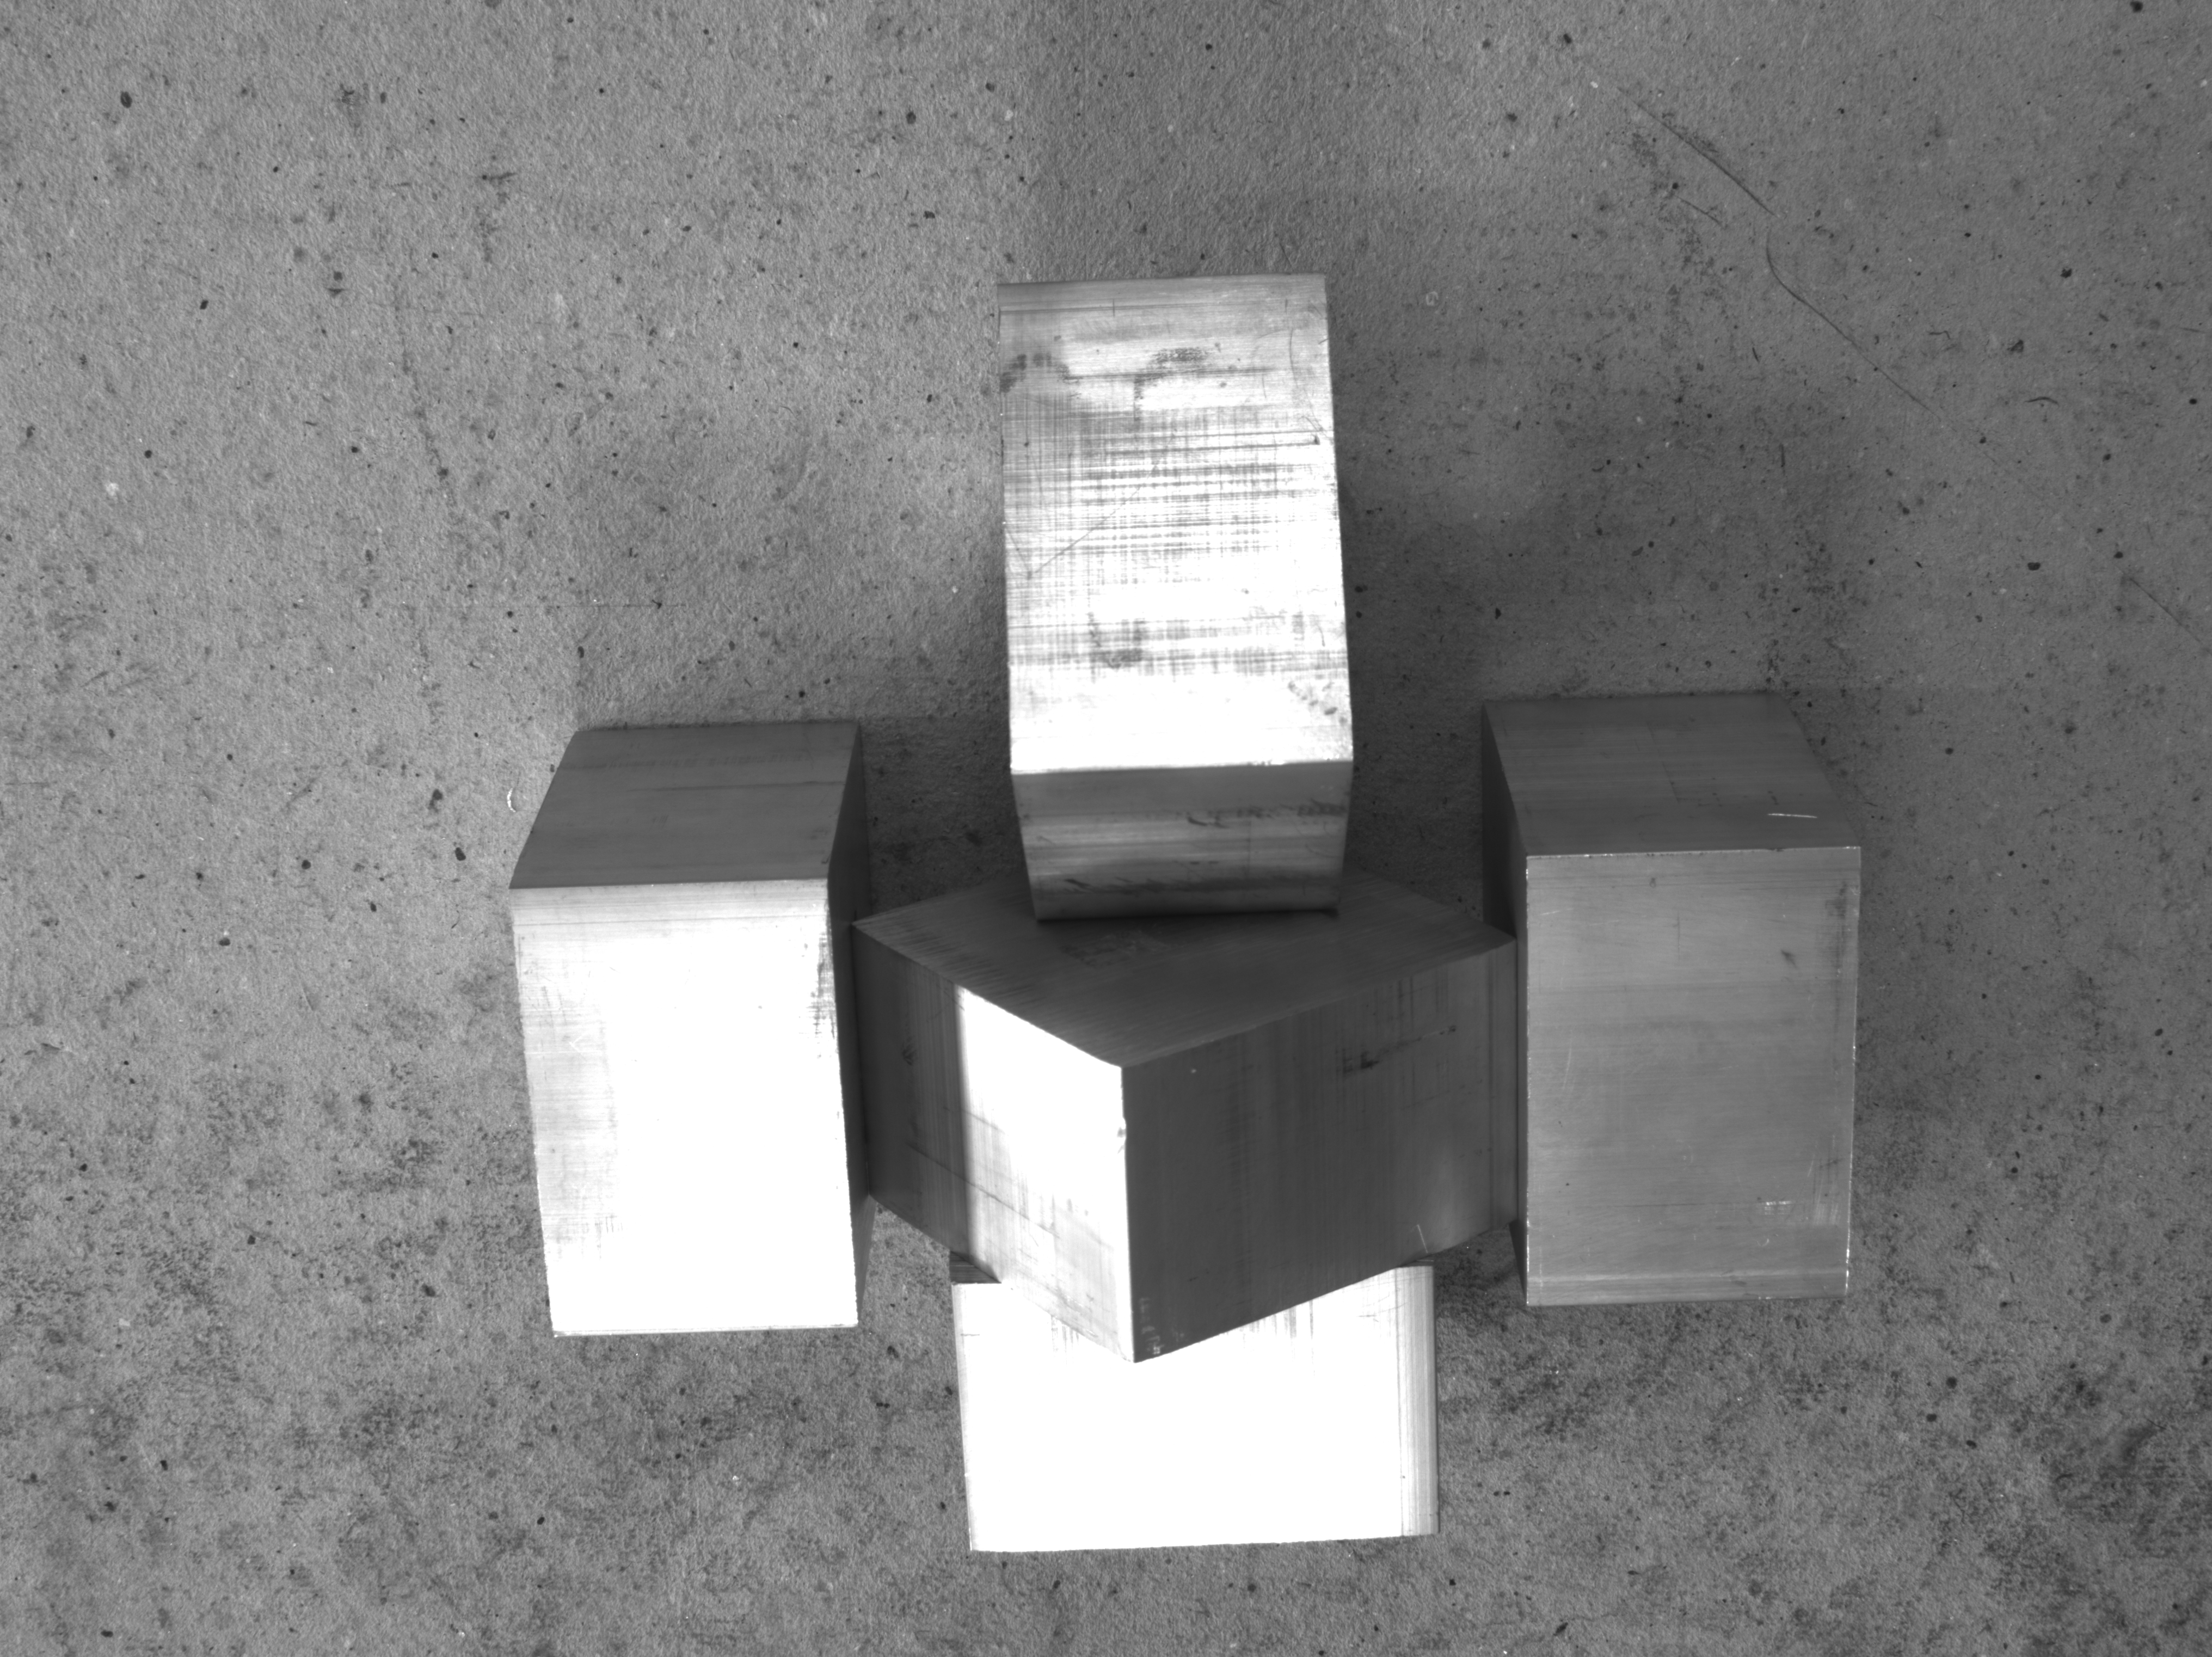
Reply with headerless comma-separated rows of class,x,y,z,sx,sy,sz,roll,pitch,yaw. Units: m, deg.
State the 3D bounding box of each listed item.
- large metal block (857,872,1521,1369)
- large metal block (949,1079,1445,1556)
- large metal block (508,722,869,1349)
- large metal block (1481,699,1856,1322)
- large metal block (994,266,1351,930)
large metal block,0.013,0.041,0.615,0.080,0.080,0.050,-15,113,-32
large metal block,0.016,0.083,0.646,0.080,0.080,0.050,-2,110,1
large metal block,-0.067,0.033,0.626,0.050,0.080,0.080,-2,110,0
large metal block,0.093,0.029,0.625,0.050,0.080,0.080,-2,109,0
large metal block,0.011,-0.034,0.587,0.050,0.080,0.080,-2,72,1
